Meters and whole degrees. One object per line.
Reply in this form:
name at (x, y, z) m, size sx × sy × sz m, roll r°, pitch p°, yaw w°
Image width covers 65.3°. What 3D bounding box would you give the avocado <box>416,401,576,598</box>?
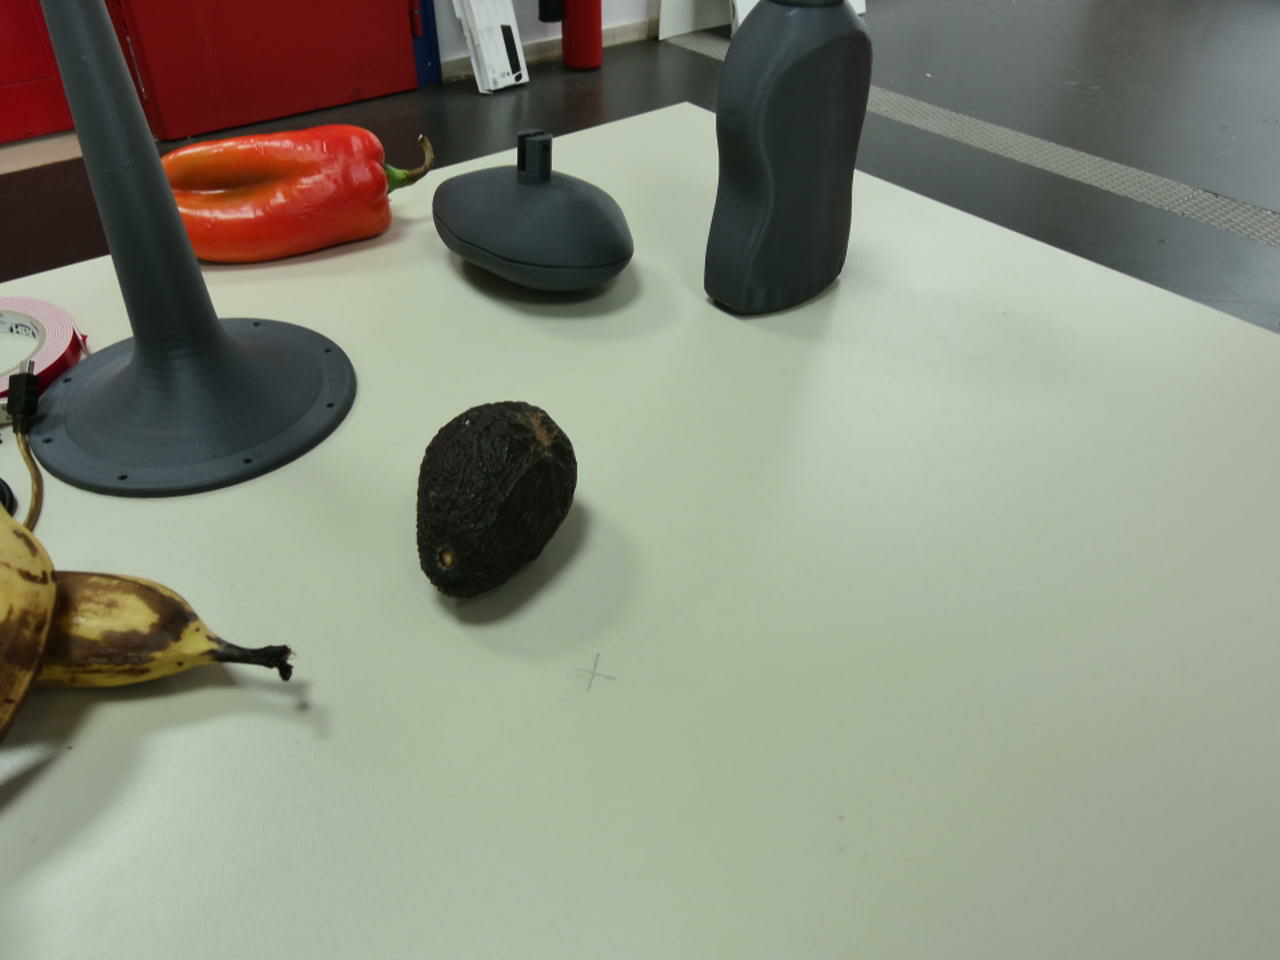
avocado at (-0.062, 0.004, 0.408) m, size 0.062 × 0.062 × 0.092 m, roll 17°, pitch 40°, yaw 20°
